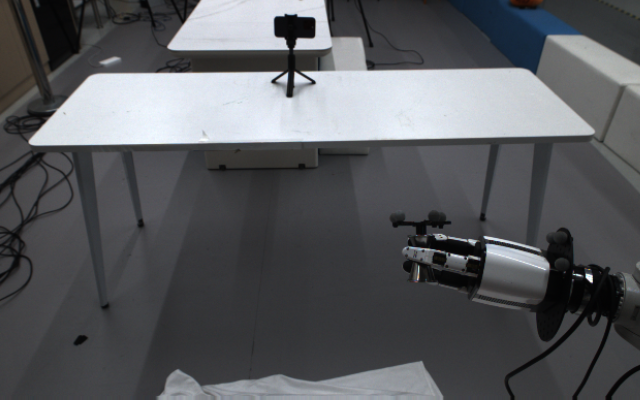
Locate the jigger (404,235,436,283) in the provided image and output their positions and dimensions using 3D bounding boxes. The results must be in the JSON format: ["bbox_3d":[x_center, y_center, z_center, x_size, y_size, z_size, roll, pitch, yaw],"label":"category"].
[{"bbox_3d":[0.148,0.084,0.711,0.043,0.071,0.043,1,-5,0],"label":"jigger"}]
